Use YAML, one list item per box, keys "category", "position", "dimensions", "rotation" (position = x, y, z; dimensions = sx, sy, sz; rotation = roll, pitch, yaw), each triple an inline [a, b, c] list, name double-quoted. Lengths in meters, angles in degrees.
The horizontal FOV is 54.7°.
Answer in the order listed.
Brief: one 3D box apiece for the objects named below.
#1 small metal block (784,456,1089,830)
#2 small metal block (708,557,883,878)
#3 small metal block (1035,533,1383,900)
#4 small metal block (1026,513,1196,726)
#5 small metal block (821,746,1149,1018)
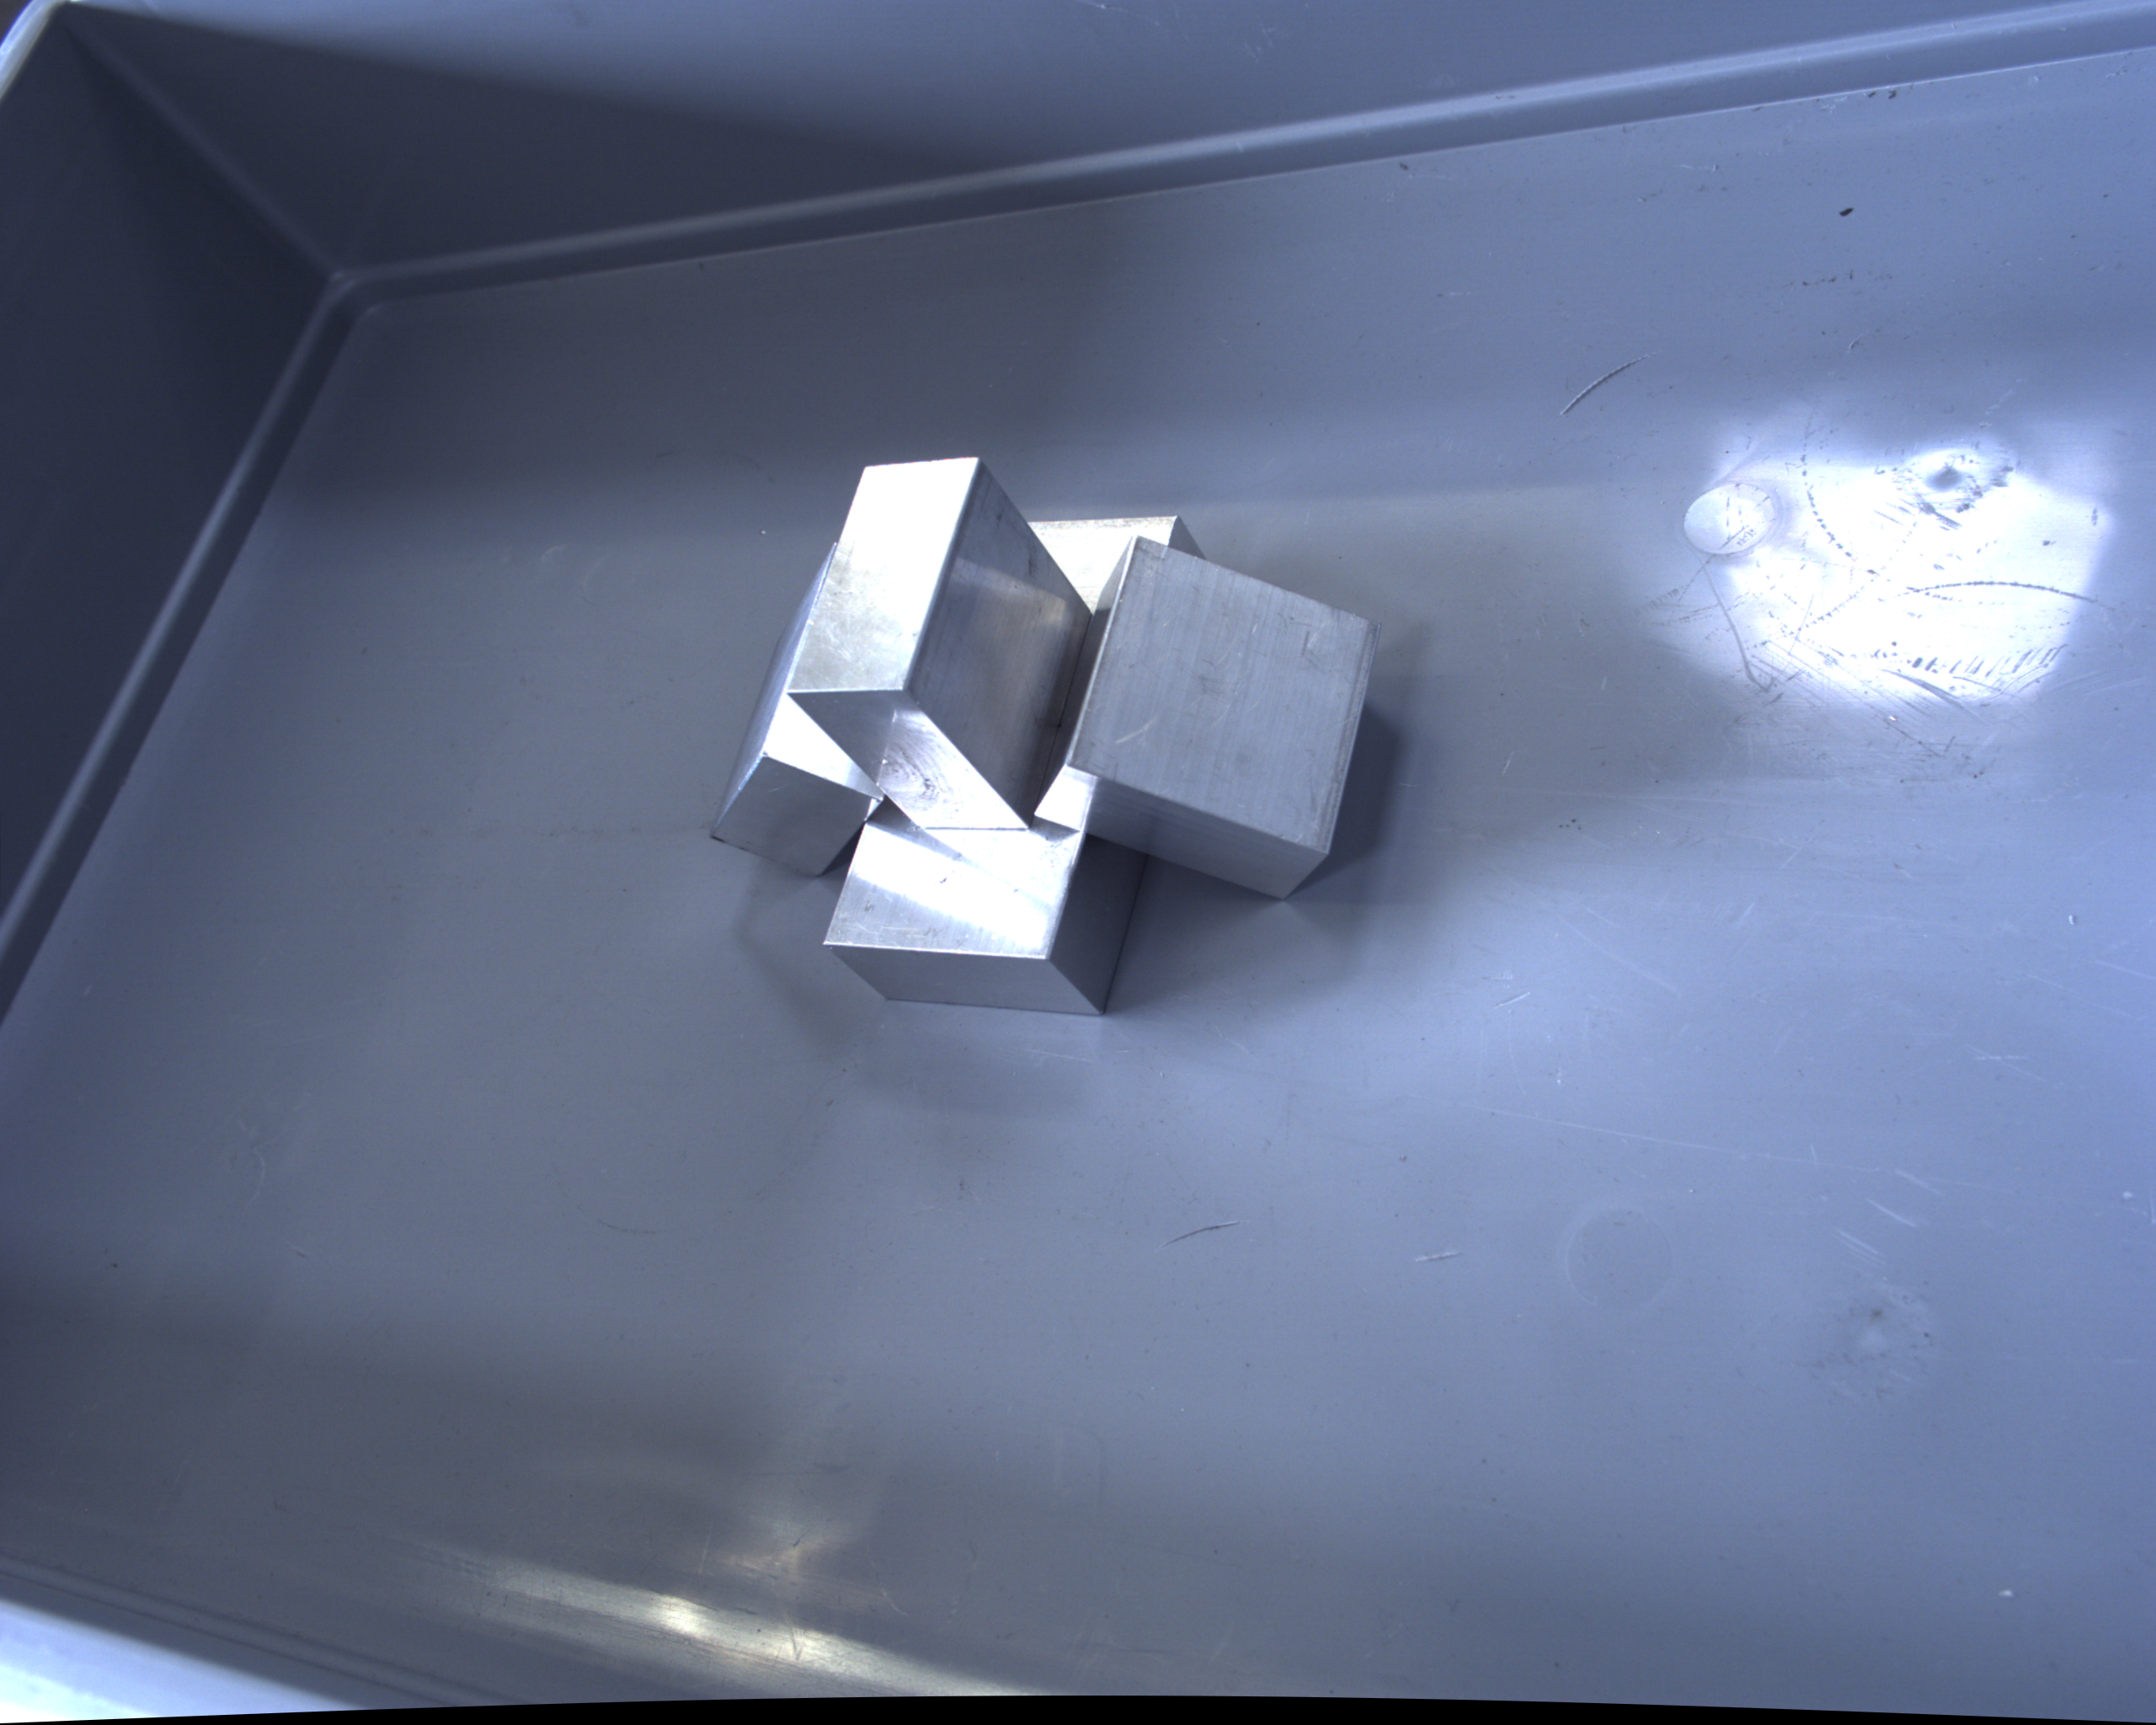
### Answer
- category: "small metal block"
  position: [-0.025, -0.040, 0.392]
  dimensions: [0.025, 0.050, 0.050]
  rotation: [1, 62, 28]
- category: "small metal block"
  position: [-0.052, -0.030, 0.432]
  dimensions: [0.050, 0.025, 0.050]
  rotation: [139, 150, -62]
- category: "small metal block"
  position: [0.025, -0.027, 0.392]
  dimensions: [0.050, 0.025, 0.050]
  rotation: [19, 67, -7]
- category: "small metal block"
  position: [-0.004, -0.044, 0.431]
  dimensions: [0.050, 0.025, 0.050]
  rotation: [3, 63, 29]
- category: "small metal block"
  position: [-0.016, 0.001, 0.411]
  dimensions: [0.050, 0.025, 0.050]
  rotation: [3, 63, 29]
